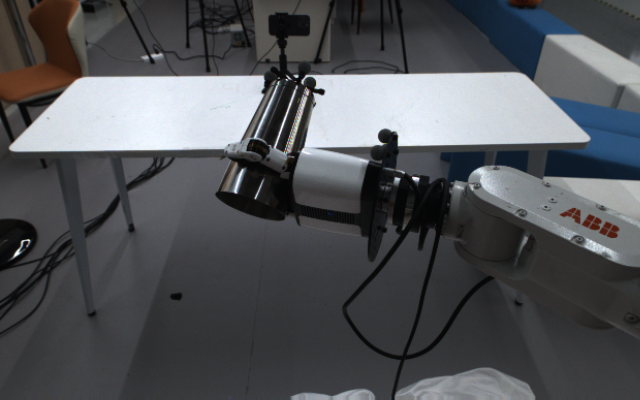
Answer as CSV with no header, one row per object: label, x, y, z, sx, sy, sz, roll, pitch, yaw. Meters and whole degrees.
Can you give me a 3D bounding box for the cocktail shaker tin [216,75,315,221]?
cocktail shaker tin,-0.065,-0.069,0.629,0.093,0.093,0.170,14,72,16
